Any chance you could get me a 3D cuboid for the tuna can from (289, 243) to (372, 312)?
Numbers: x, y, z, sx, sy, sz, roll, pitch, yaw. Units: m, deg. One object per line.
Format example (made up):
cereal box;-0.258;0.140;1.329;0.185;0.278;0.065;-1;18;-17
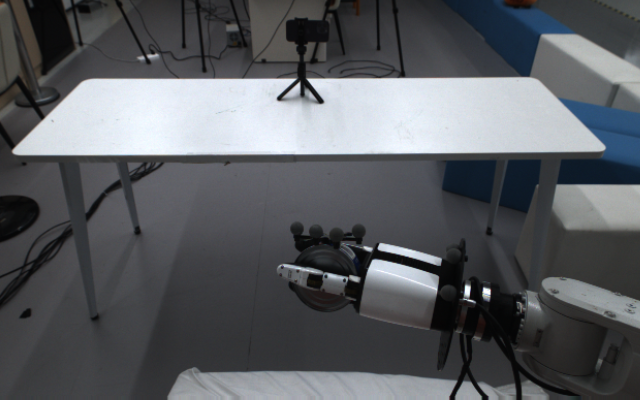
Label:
tuna can;0.012;0.100;0.607;0.085;0.085;0.034;12;8;14
